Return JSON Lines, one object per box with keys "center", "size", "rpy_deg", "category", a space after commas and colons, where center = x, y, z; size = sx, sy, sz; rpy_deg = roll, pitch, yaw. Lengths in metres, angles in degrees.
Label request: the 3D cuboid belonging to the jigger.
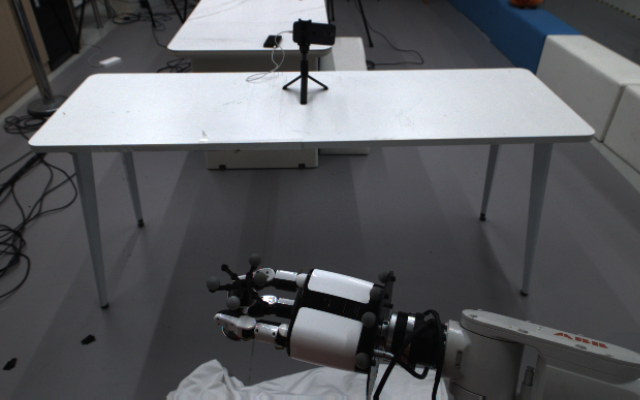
{"center": [-0.107, 0.150, 0.653], "size": [0.043, 0.071, 0.043], "rpy_deg": [10, 36, -7], "category": "jigger"}
